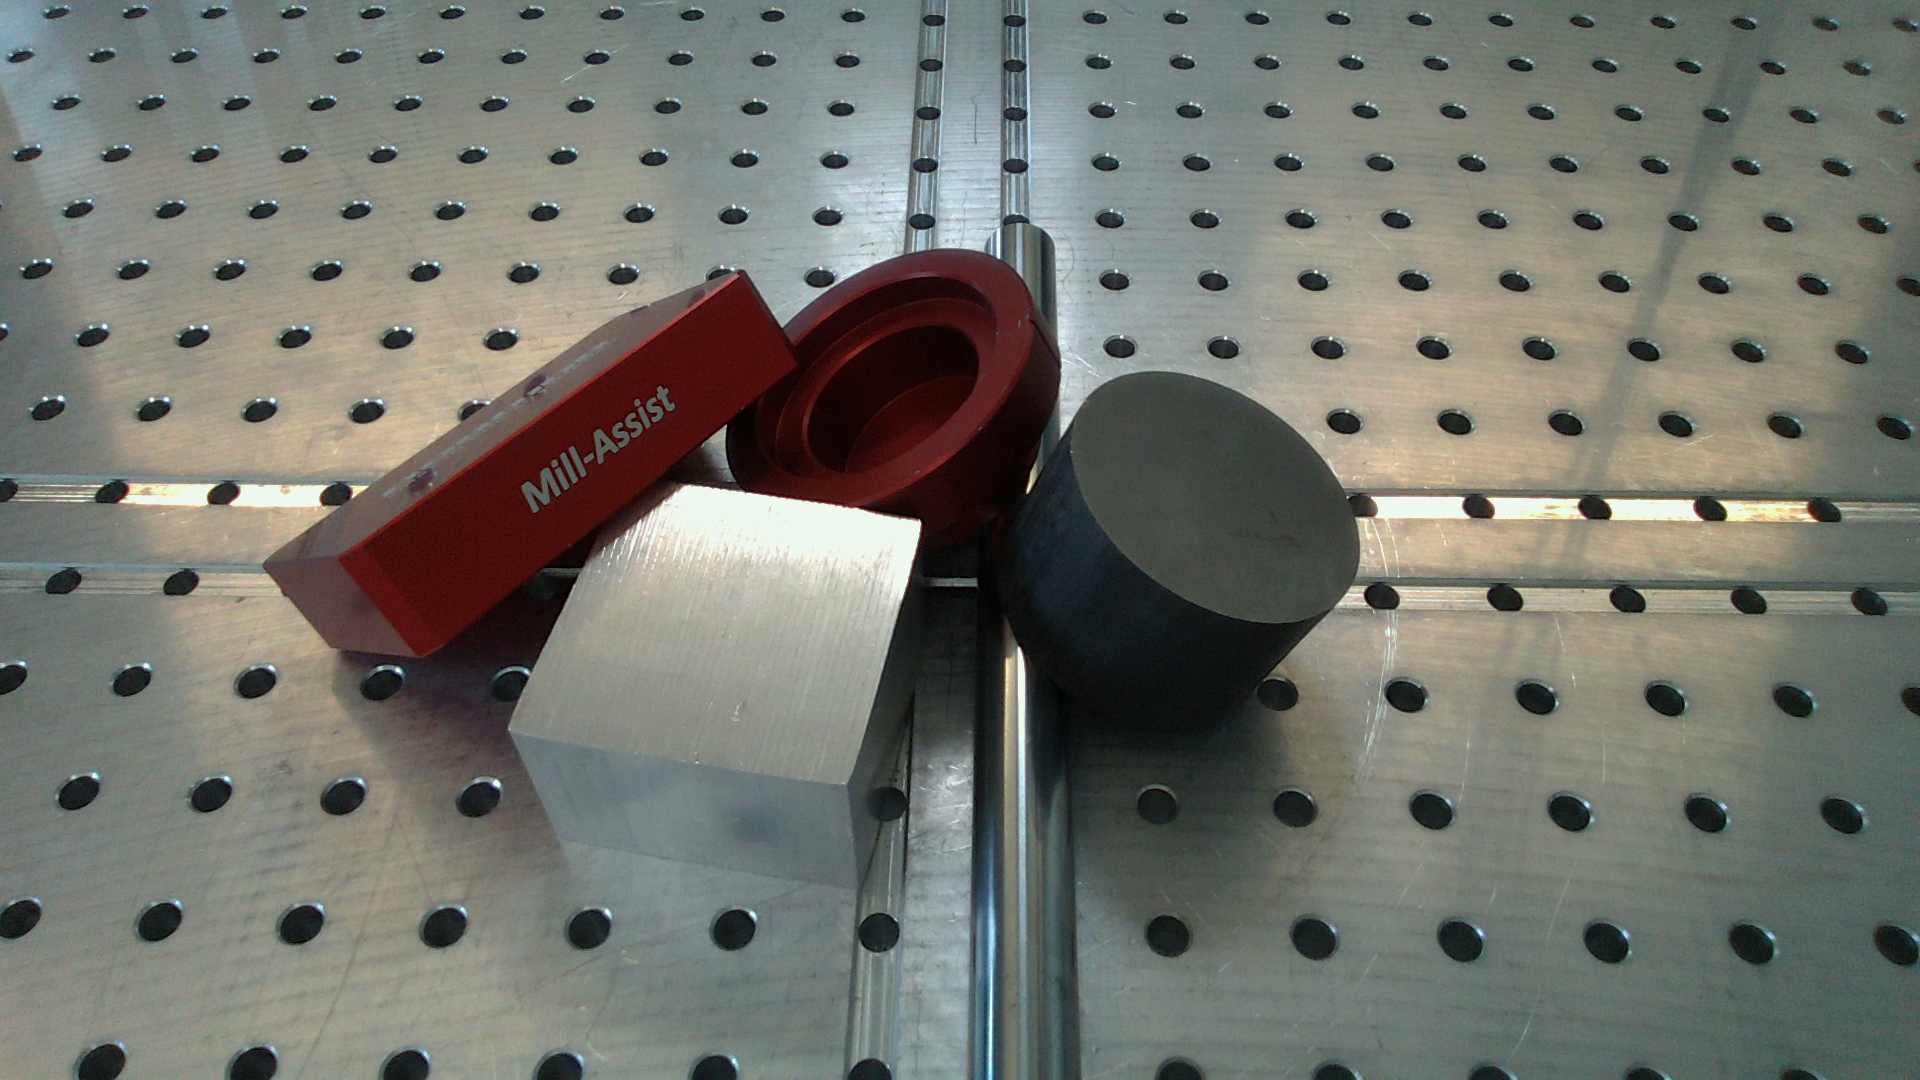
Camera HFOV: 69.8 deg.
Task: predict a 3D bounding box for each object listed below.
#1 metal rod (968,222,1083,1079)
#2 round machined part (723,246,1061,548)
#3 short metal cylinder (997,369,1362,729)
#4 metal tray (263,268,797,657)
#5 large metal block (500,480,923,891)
[{"bbox_3d":[0.017,0.014,0.384,0.025,0.025,0.300,1,50,1],"label":"metal rod"},{"bbox_3d":[-0.016,-0.036,0.397,0.098,0.042,0.098,-17,46,19],"label":"round machined part"},{"bbox_3d":[0.056,0.002,0.360,0.080,0.050,0.080,13,48,-15],"label":"short metal cylinder"},{"bbox_3d":[-0.116,-0.022,0.378,0.130,0.030,0.090,-44,24,-30],"label":"metal tray"},{"bbox_3d":[-0.056,0.035,0.349,0.080,0.050,0.080,8,50,7],"label":"large metal block"}]
